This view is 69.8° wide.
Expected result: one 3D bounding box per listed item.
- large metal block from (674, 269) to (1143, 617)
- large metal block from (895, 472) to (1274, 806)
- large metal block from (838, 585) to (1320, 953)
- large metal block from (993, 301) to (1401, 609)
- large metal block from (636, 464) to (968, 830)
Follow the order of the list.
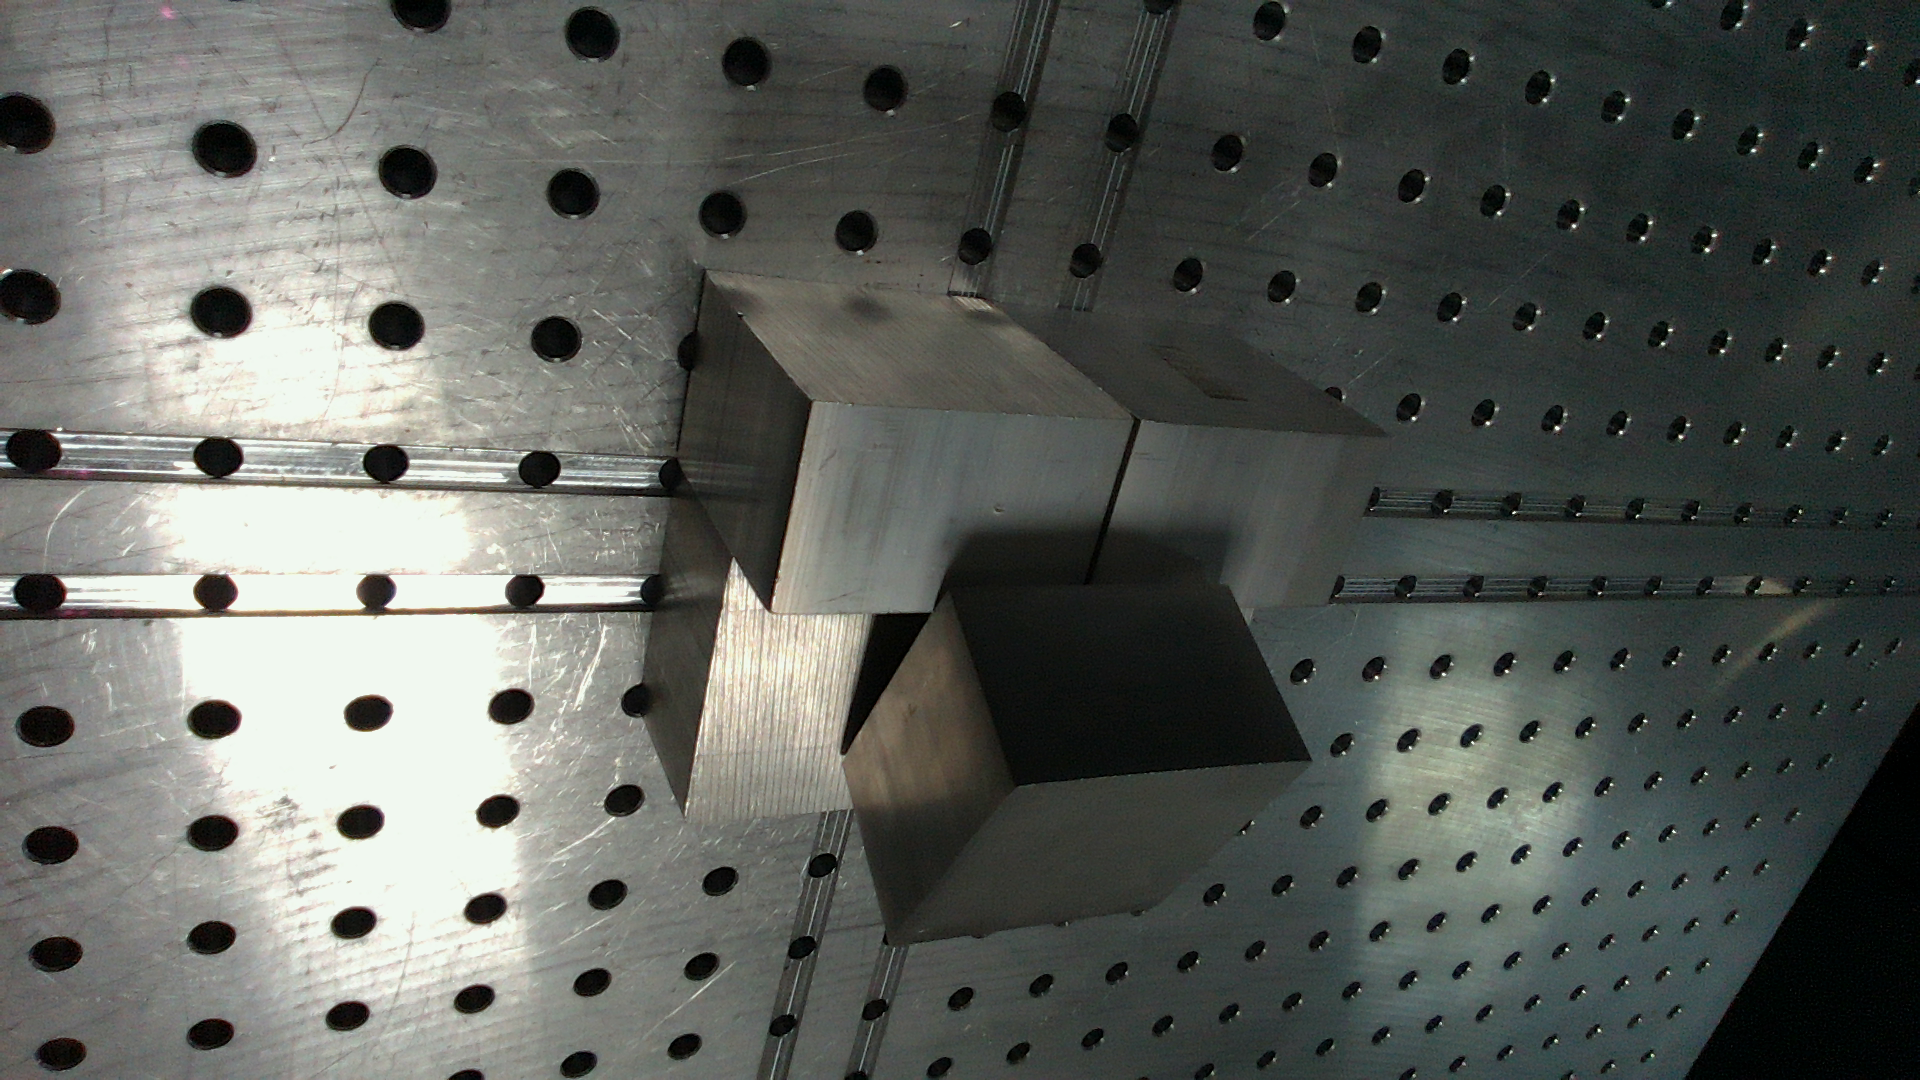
[{"bbox_3d":[-0.016,-0.024,0.332,0.080,0.080,0.050,1,118,-29],"label":"large metal block"},{"bbox_3d":[0.035,0.028,0.409,0.080,0.050,0.080,1,118,-29],"label":"large metal block"},{"bbox_3d":[0.025,0.056,0.338,0.080,0.050,0.080,0,142,-28],"label":"large metal block"},{"bbox_3d":[0.054,-0.024,0.370,0.080,0.080,0.050,1,118,-29],"label":"large metal block"},{"bbox_3d":[-0.037,0.027,0.370,0.080,0.050,0.080,1,118,-29],"label":"large metal block"}]
